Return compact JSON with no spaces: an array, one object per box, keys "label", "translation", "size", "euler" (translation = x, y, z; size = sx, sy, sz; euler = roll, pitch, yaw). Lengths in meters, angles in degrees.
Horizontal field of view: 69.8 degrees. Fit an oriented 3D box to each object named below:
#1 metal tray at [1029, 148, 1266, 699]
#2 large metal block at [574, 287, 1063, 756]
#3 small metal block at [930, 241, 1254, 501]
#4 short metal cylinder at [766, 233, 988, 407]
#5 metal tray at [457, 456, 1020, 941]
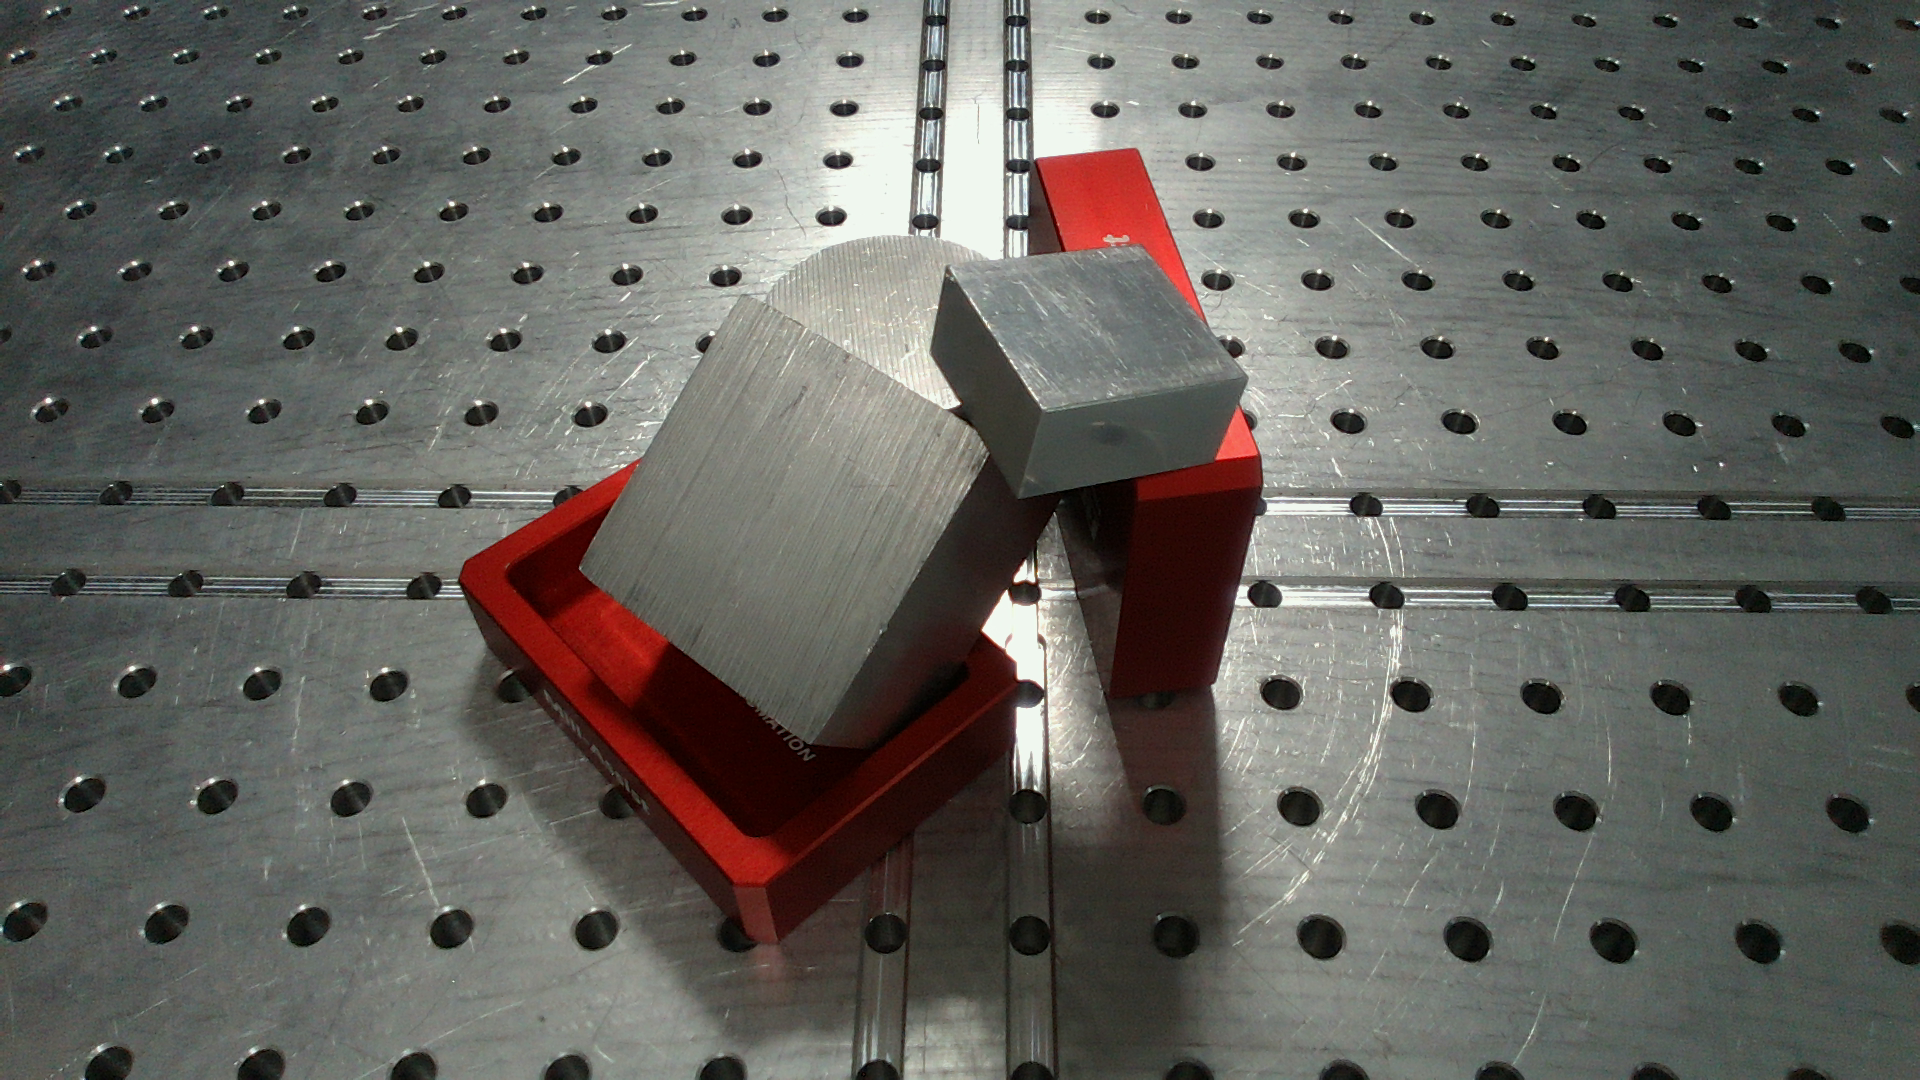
[{"label":"metal tray","translation":[0.045,-0.034,0.381],"size":[0.030,0.090,0.130],"euler":[-7,50,-5]},{"label":"large metal block","translation":[-0.033,-0.003,0.340],"size":[0.080,0.050,0.080],"euler":[32,93,24]},{"label":"small metal block","translation":[0.028,-0.039,0.304],"size":[0.050,0.025,0.050],"euler":[-11,50,-23]},{"label":"short metal cylinder","translation":[-0.019,-0.048,0.419],"size":[0.080,0.050,0.080],"euler":[0,50,0]},{"label":"metal tray","translation":[-0.059,0.029,0.365],"size":[0.090,0.030,0.130],"euler":[-36,58,-26]}]
